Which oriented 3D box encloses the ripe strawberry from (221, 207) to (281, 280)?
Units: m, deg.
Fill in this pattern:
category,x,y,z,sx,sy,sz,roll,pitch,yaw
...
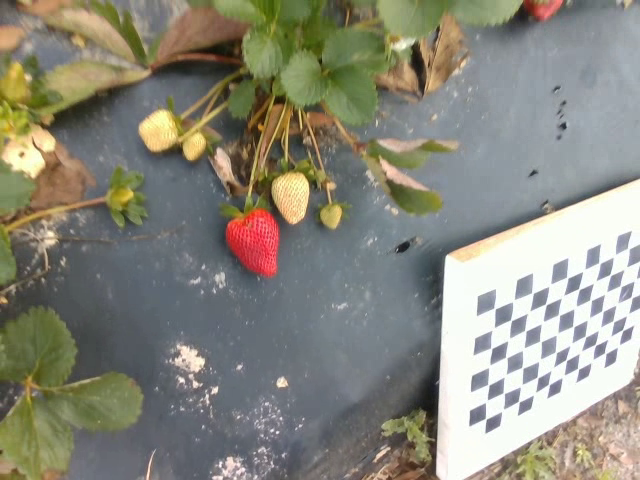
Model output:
category,x,y,z,sx,sy,sz,roll,pitch,yaw
ripe strawberry,-0.048,0.002,0.514,0.050,0.059,0.034,-27,-12,-15
